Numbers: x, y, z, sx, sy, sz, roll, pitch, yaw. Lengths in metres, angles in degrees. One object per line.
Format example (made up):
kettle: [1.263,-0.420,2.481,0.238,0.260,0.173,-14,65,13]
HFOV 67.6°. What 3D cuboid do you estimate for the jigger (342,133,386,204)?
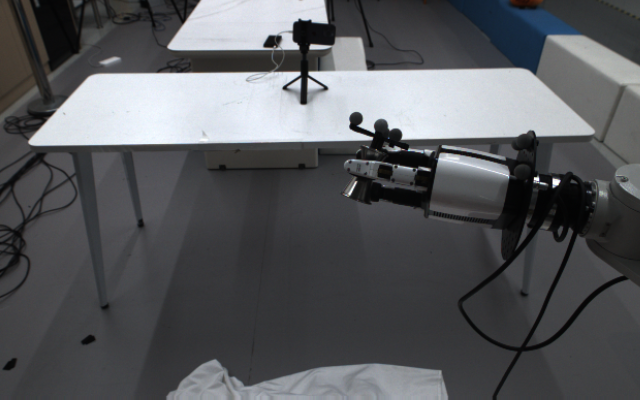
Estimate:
jigger: [0.057,-0.034,0.623,0.043,0.071,0.043,22,5,-2]
